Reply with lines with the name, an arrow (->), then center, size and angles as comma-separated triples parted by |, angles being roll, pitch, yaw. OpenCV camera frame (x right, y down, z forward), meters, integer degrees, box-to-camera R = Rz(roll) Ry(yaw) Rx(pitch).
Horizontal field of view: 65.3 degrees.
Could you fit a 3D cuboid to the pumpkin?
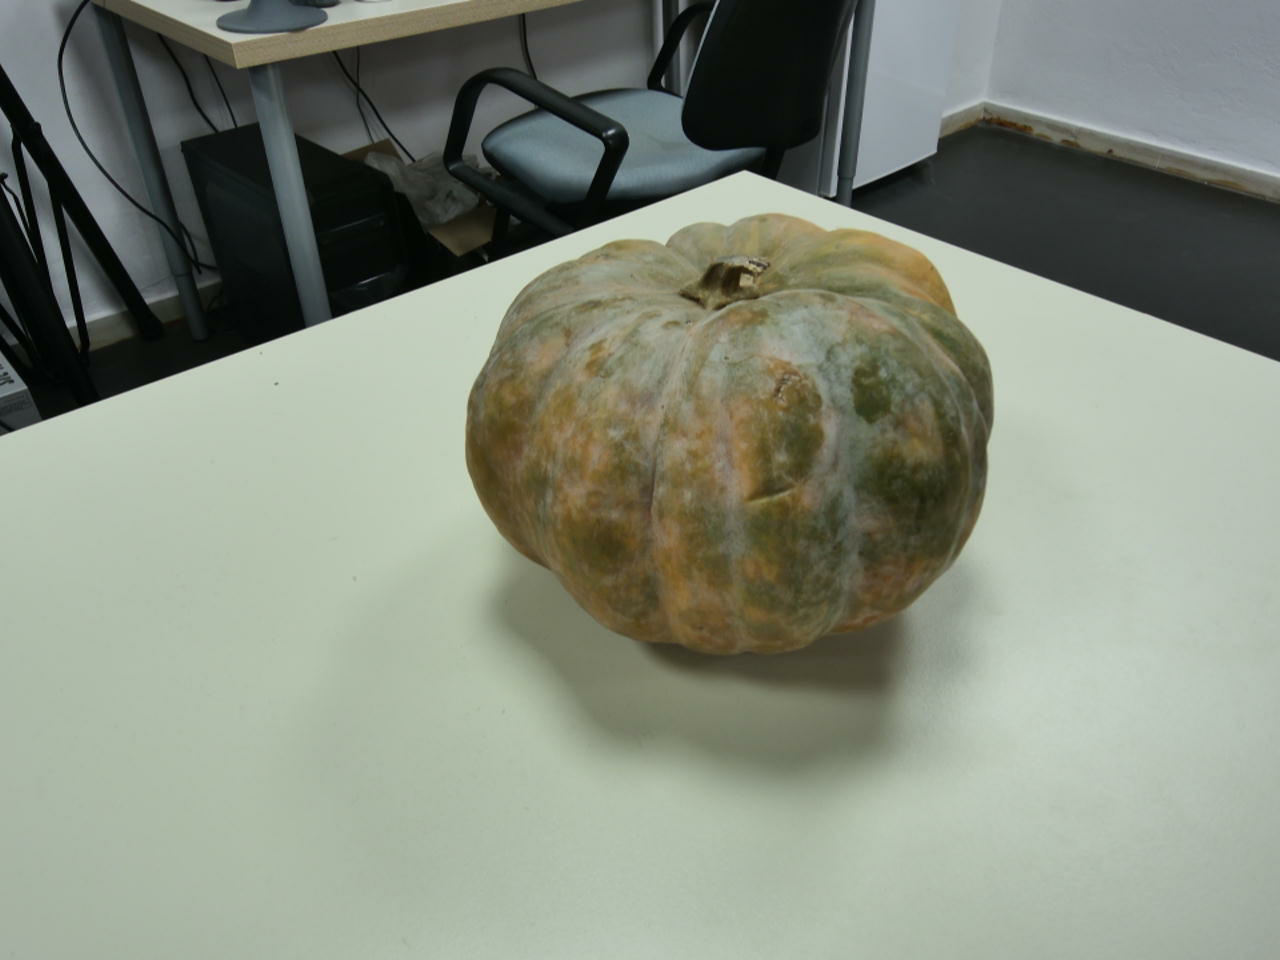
pumpkin -> 0.041, -0.030, 0.475 | 0.252, 0.169, 0.251 | 0, 36, 0
